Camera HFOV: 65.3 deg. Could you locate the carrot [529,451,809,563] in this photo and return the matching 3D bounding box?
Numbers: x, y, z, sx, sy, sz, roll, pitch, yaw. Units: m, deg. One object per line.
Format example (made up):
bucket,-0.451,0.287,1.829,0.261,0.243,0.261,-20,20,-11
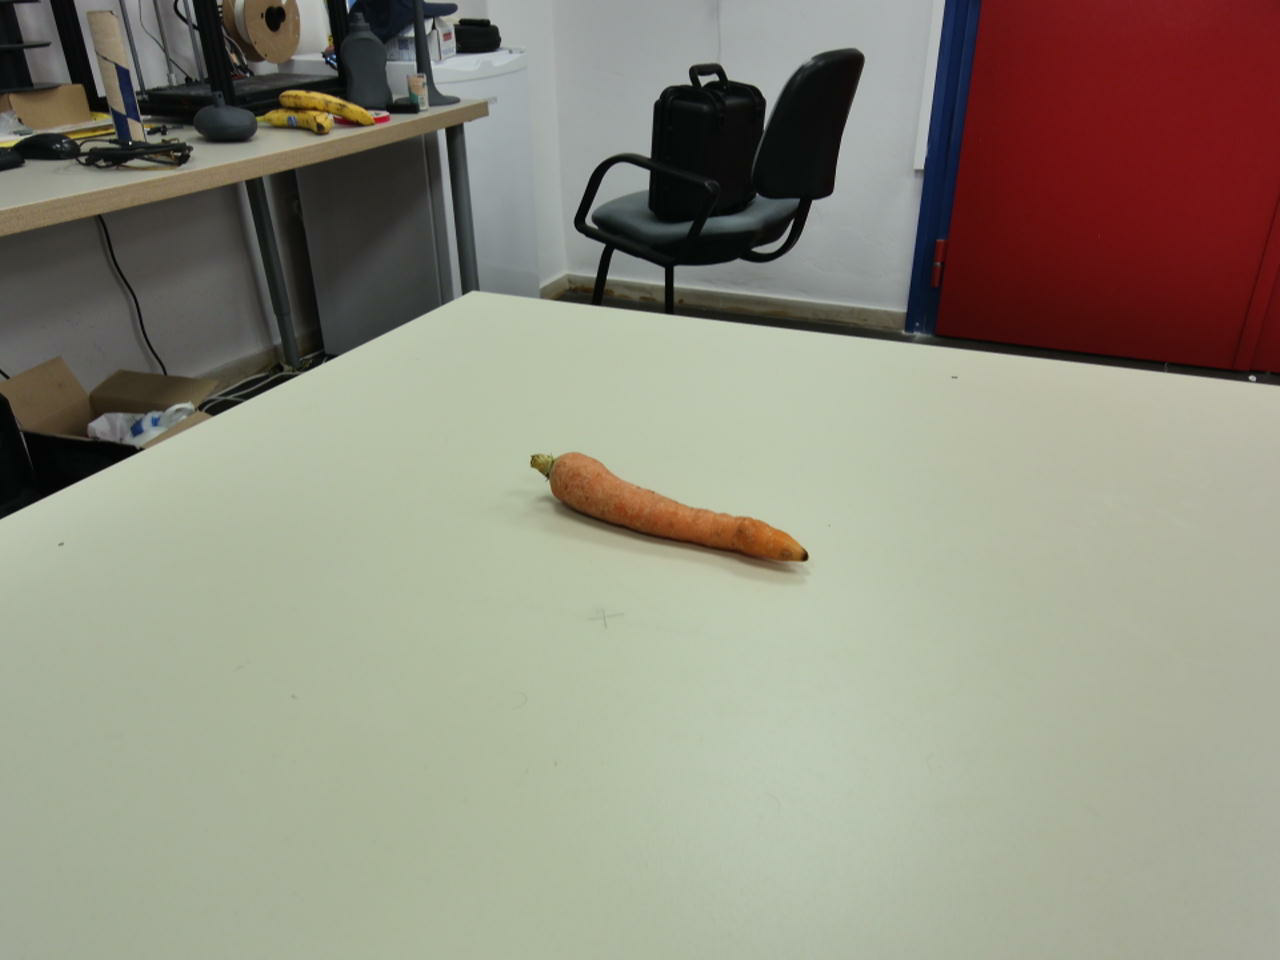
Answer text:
carrot,0.011,0.014,0.541,0.173,0.032,0.030,16,29,31
